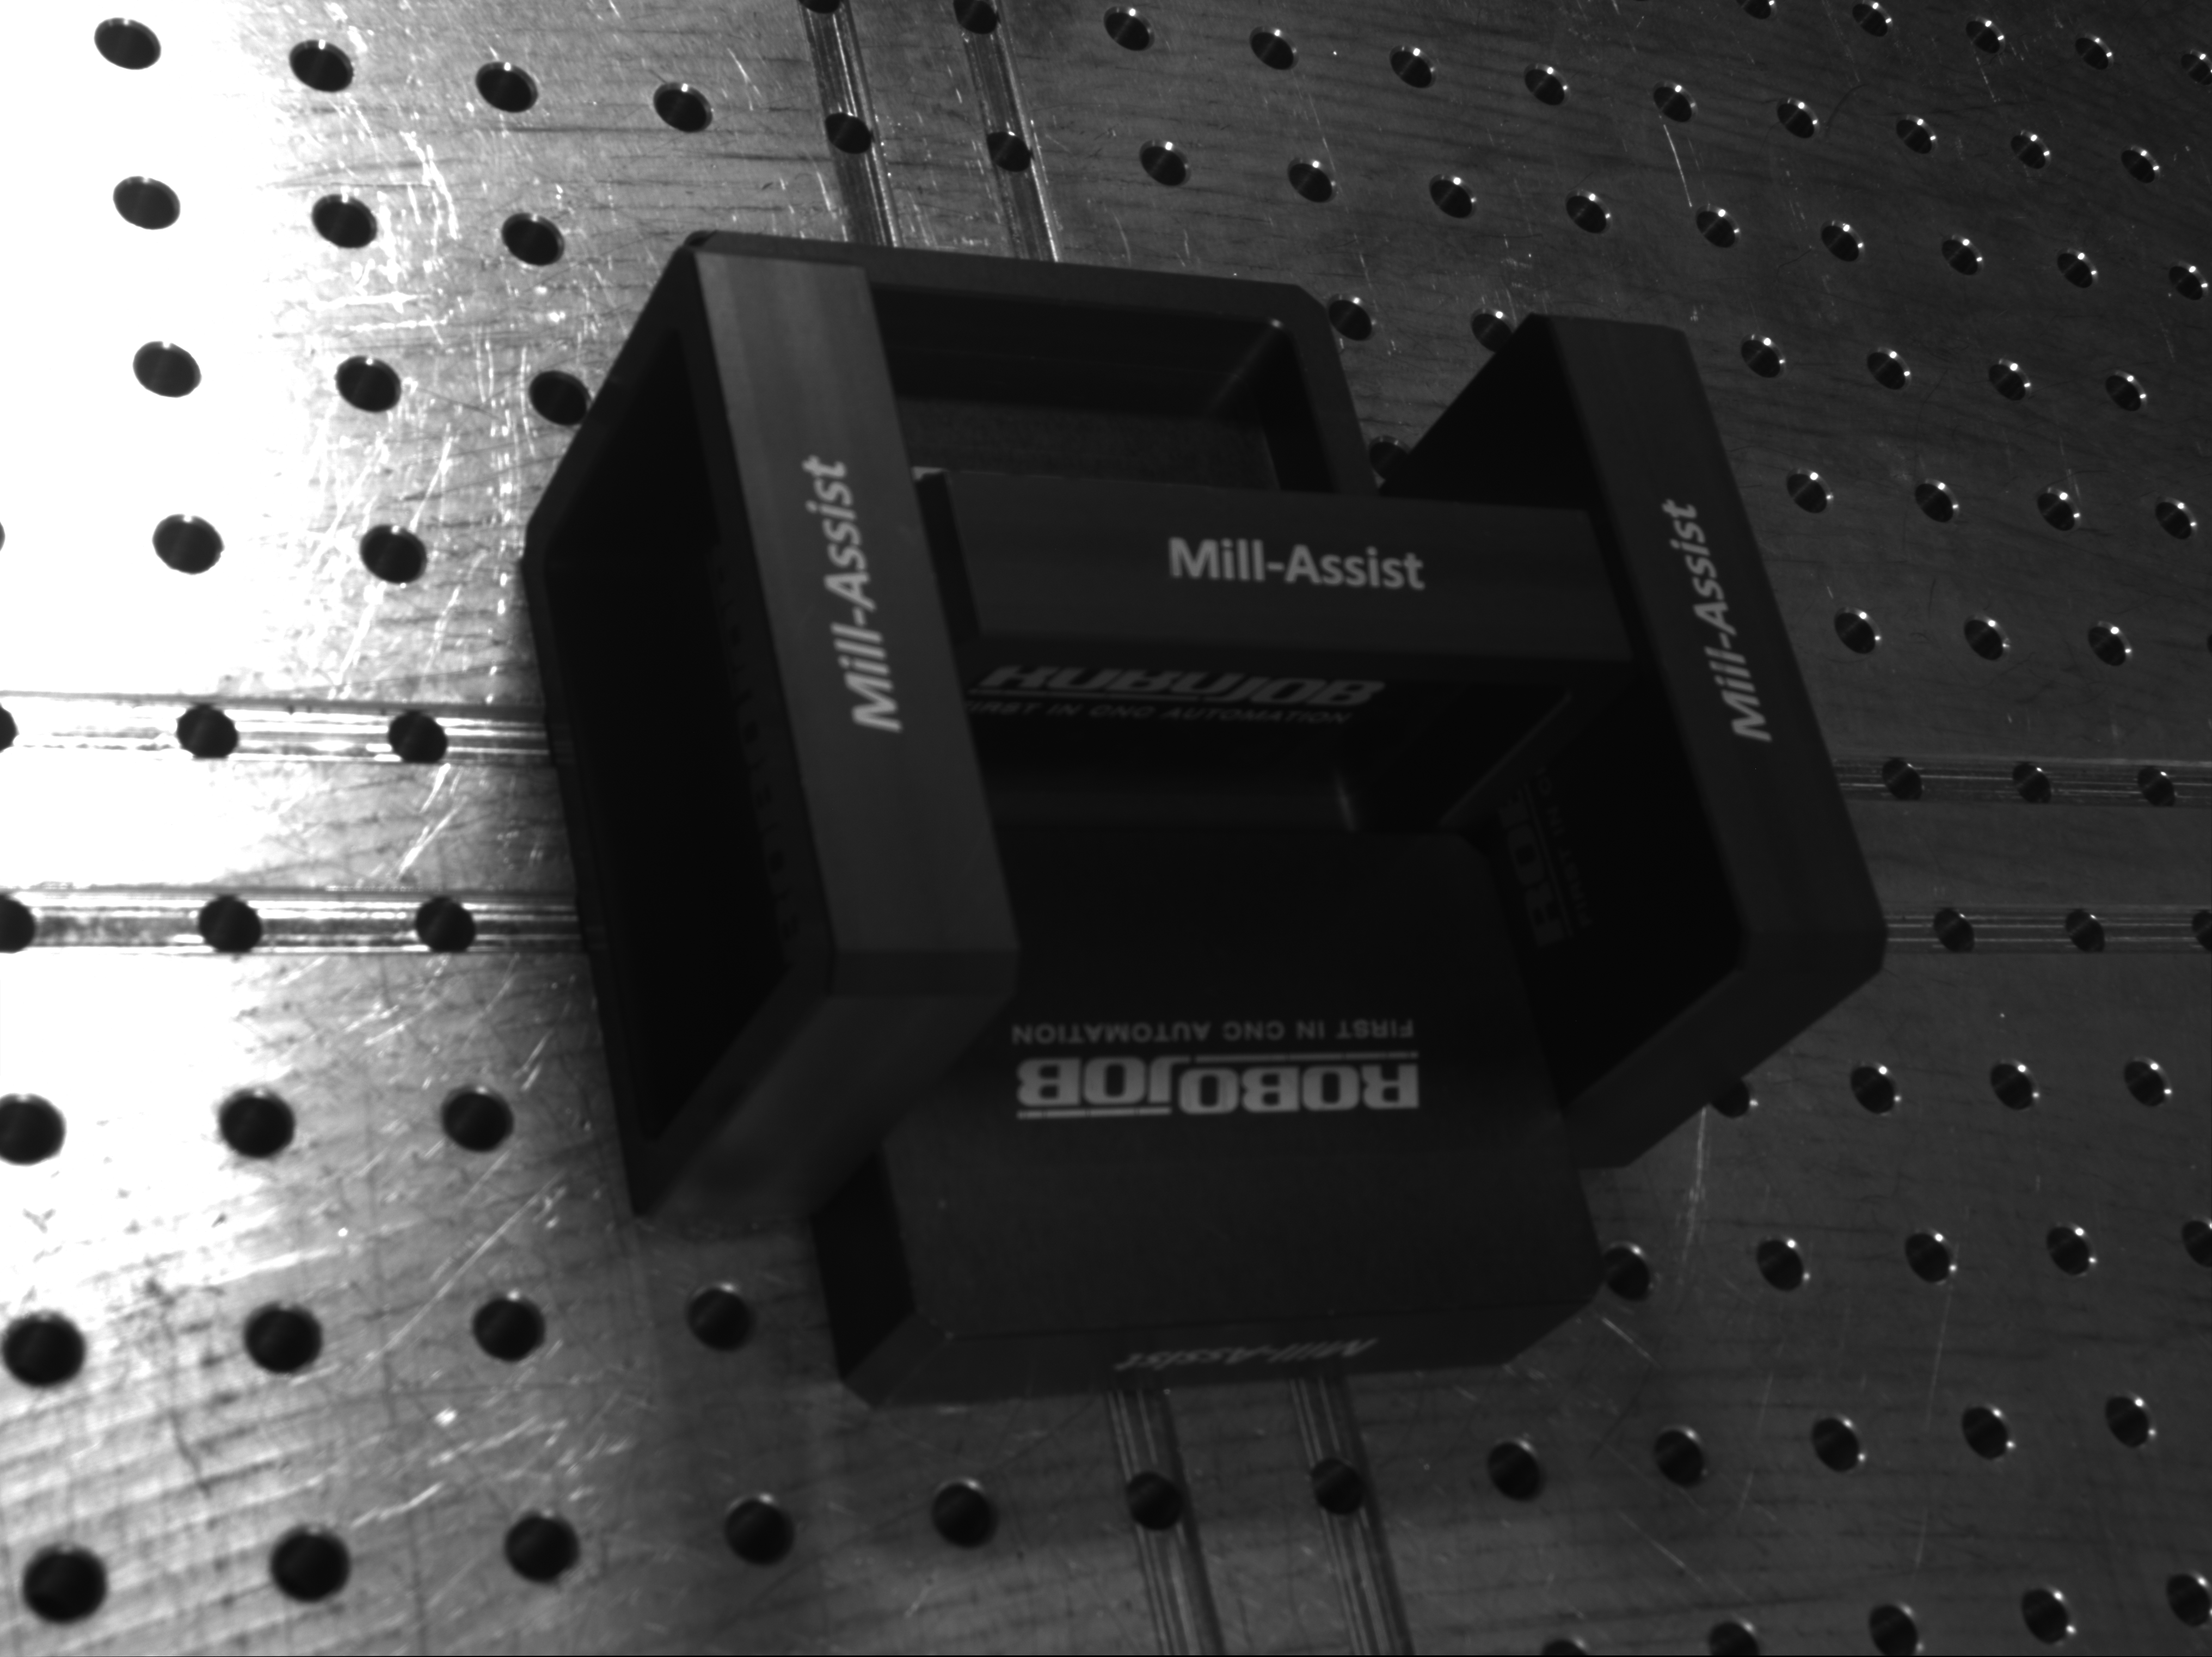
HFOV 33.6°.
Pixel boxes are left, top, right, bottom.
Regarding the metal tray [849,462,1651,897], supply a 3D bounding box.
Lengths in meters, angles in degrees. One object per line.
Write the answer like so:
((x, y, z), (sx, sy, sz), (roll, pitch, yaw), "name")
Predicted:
((0.014, -0.021, 0.620), (0.130, 0.090, 0.030), (1, 61, -28), "metal tray")

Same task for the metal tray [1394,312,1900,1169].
((0.087, -0.015, 0.656), (0.030, 0.090, 0.130), (1, 61, -28), "metal tray")

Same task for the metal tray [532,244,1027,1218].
((-0.055, -0.015, 0.580), (0.030, 0.090, 0.130), (1, 61, -28), "metal tray")

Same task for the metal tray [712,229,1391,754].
((-0.011, -0.059, 0.670), (0.130, 0.030, 0.090), (1, 61, -28), "metal tray")

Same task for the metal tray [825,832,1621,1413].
((0.015, 0.047, 0.617), (0.130, 0.030, 0.090), (1, 61, -28), "metal tray")
